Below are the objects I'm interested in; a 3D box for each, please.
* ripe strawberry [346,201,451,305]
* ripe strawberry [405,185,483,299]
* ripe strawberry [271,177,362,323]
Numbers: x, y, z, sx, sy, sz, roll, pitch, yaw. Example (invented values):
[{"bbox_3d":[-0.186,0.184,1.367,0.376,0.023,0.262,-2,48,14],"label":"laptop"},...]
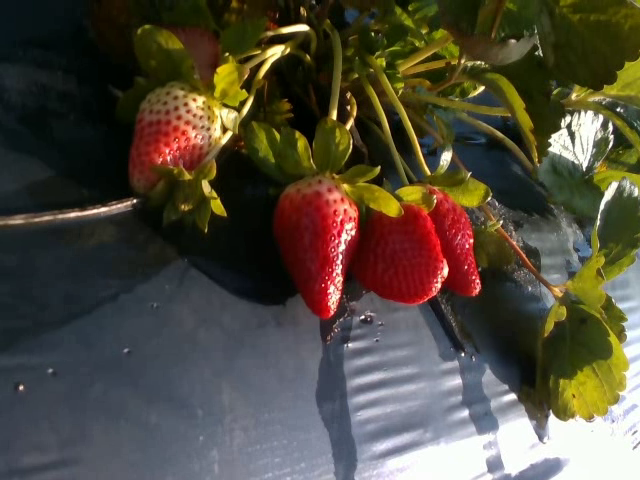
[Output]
[{"bbox_3d":[0.027,0.004,0.201,0.030,0.037,0.039,19,18,-40],"label":"ripe strawberry"},{"bbox_3d":[0.046,0.006,0.223,0.035,0.034,0.041,0,44,-41],"label":"ripe strawberry"},{"bbox_3d":[0.001,0.002,0.187,0.031,0.046,0.023,5,-14,-41],"label":"ripe strawberry"}]
